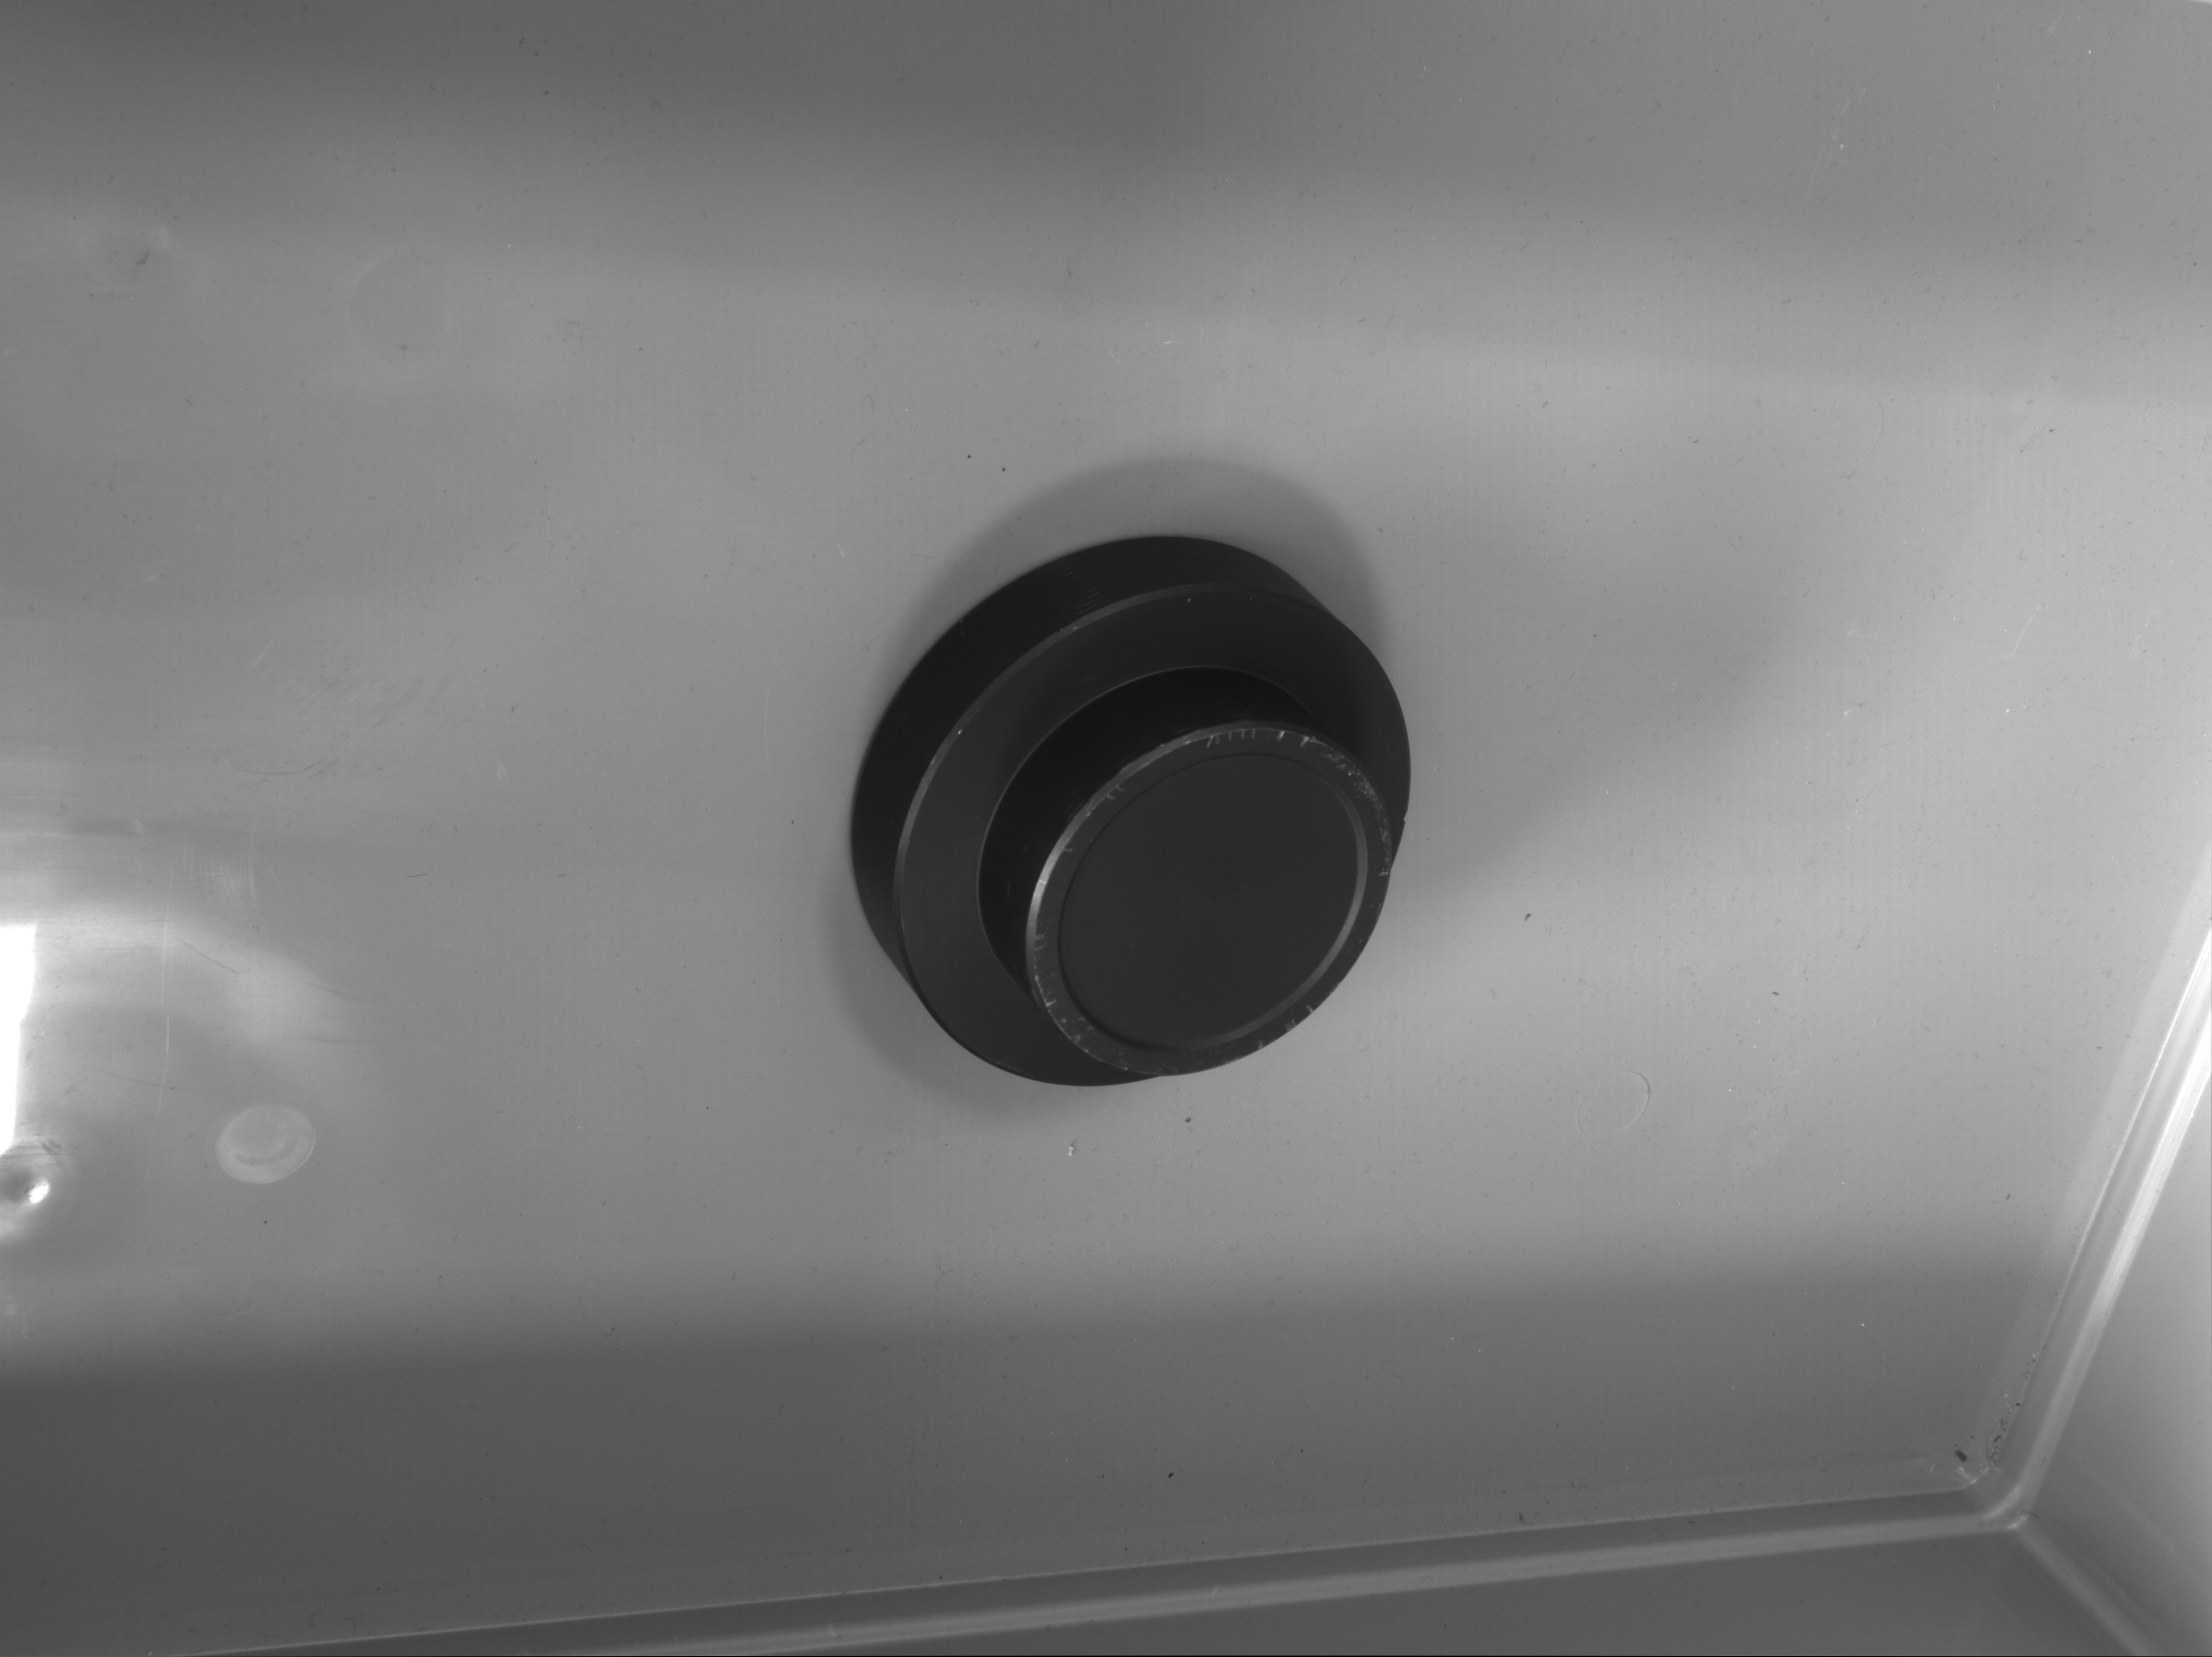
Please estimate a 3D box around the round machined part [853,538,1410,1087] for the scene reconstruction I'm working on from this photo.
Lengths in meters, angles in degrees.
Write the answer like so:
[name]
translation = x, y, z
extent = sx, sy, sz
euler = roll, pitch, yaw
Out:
[round machined part]
translation = 0.009, 0.003, 0.630
extent = 0.098, 0.042, 0.098
euler = -13, 124, -21
